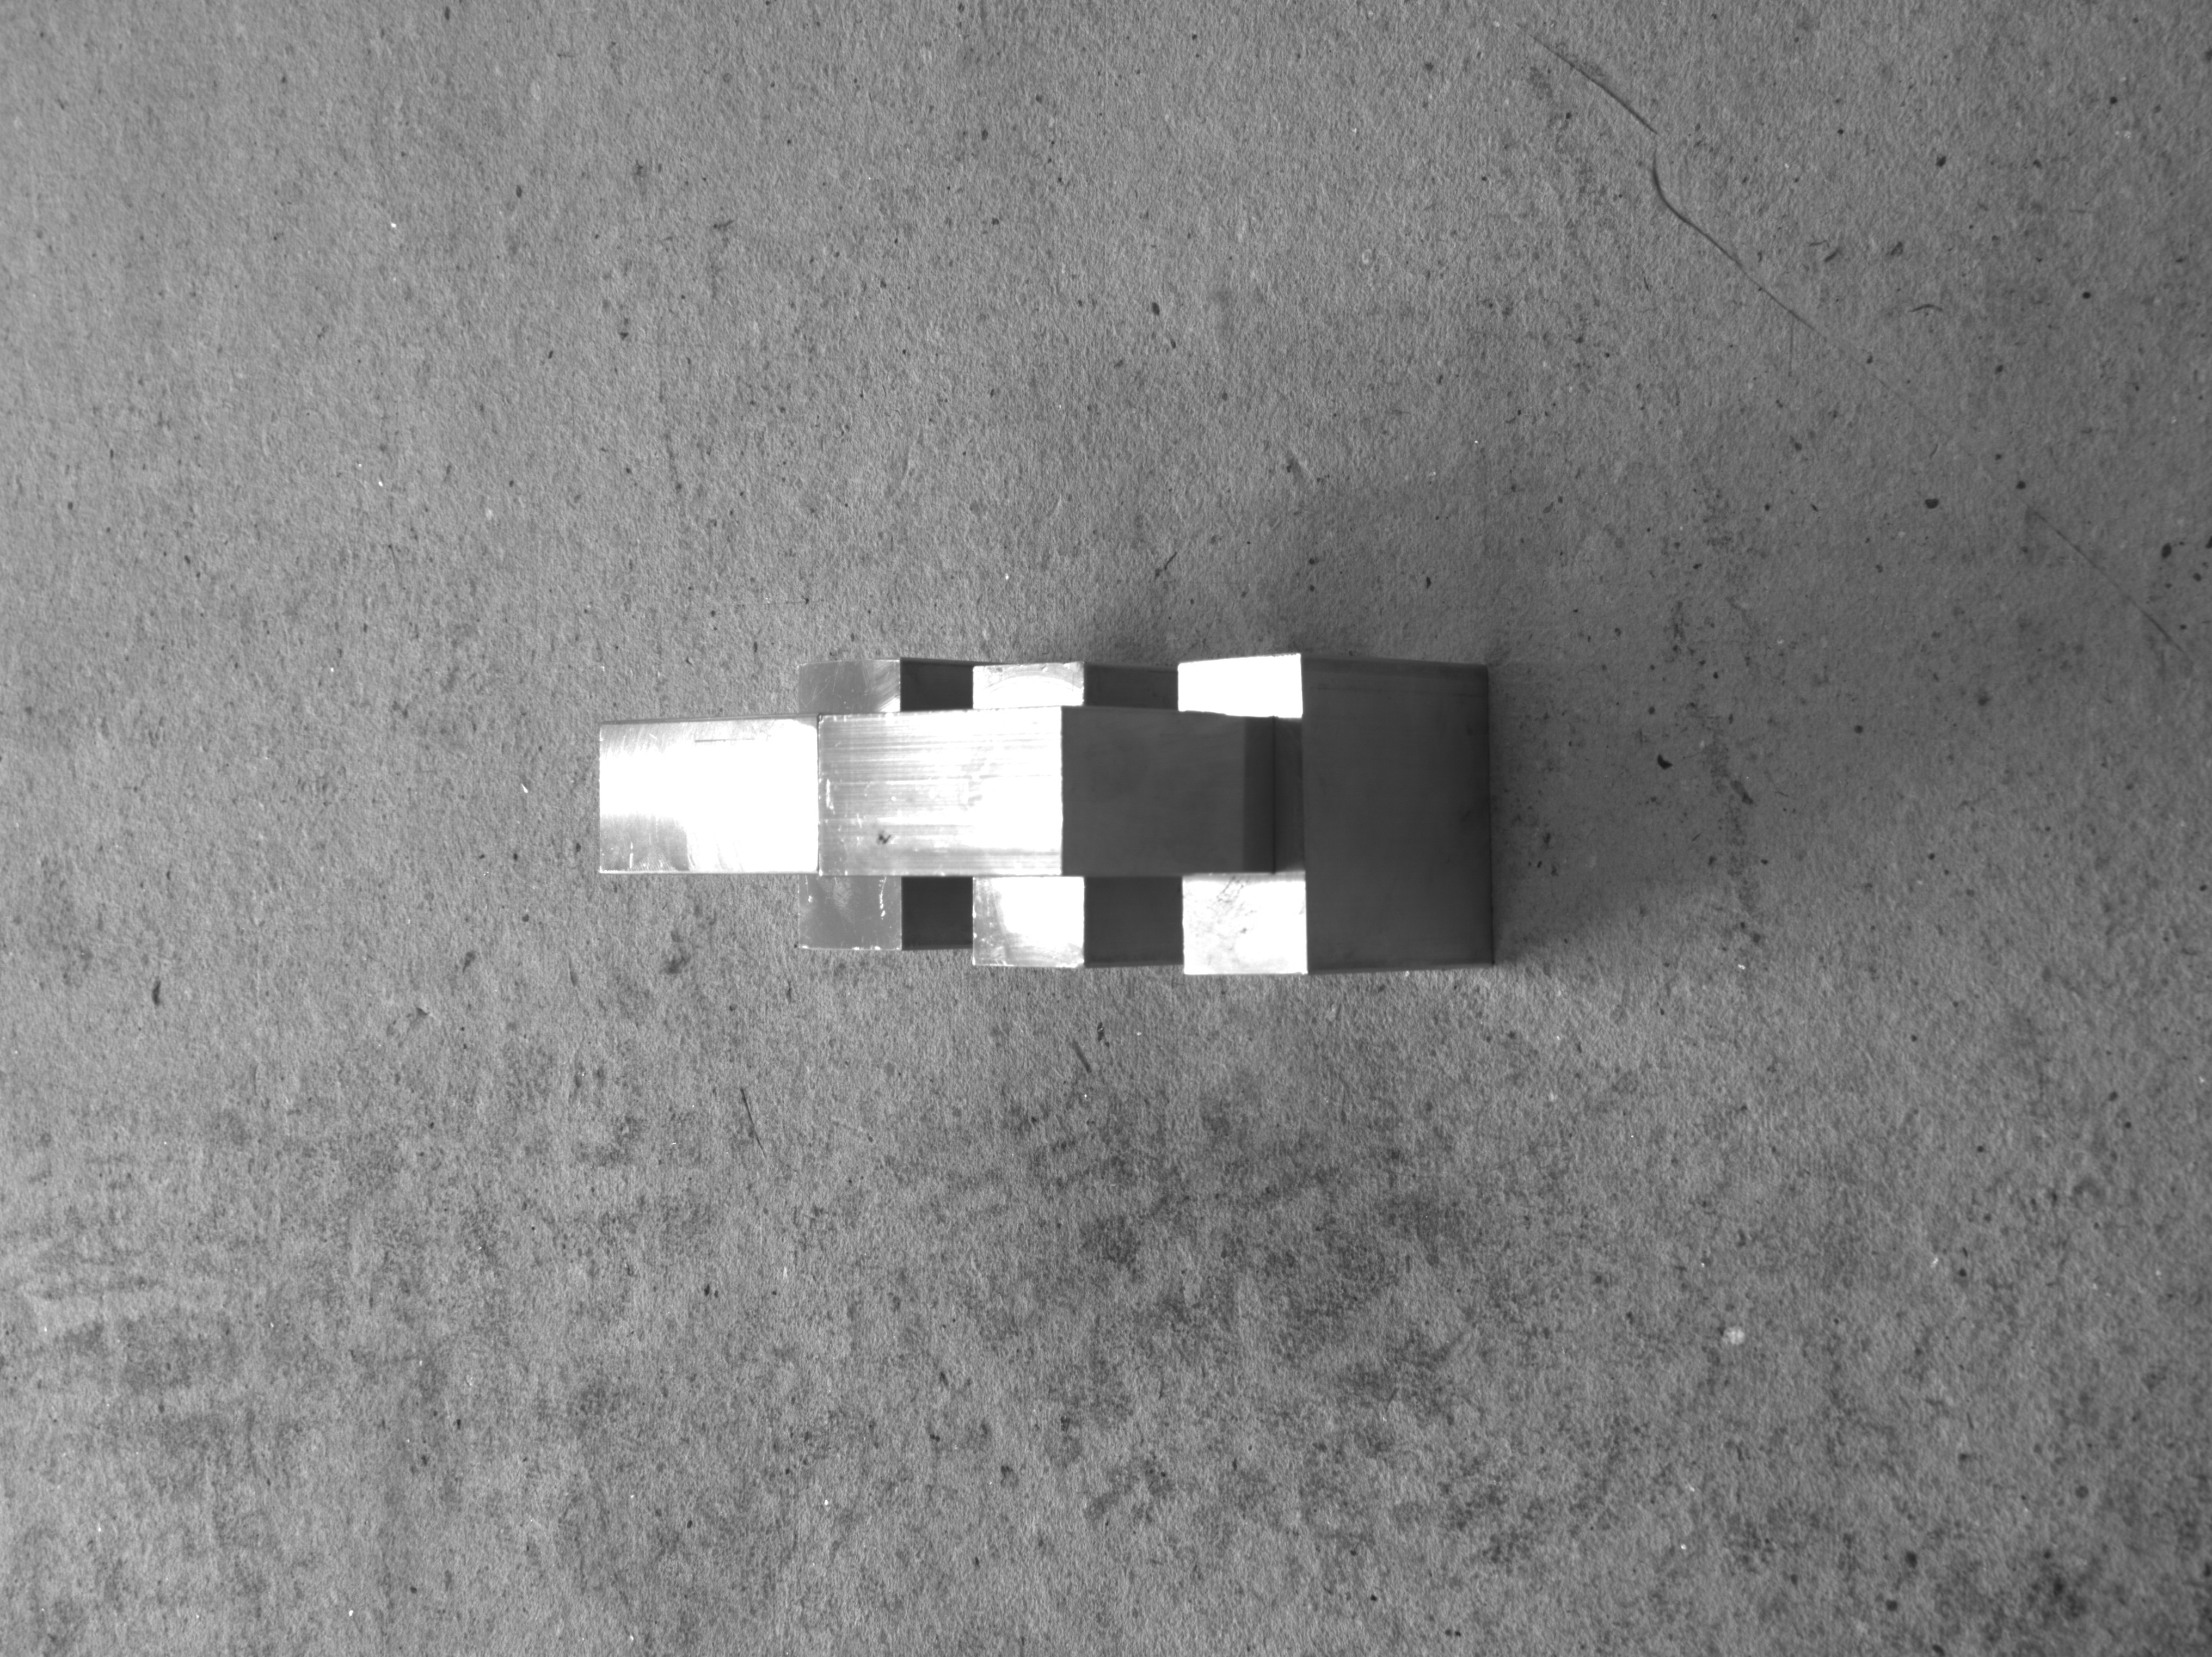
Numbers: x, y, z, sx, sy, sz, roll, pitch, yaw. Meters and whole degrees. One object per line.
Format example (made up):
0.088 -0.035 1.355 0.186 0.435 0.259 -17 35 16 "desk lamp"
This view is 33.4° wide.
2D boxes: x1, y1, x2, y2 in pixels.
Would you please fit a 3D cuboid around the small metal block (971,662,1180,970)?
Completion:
0.004 -0.002 0.627 0.025 0.050 0.050 -2 88 41 "small metal block"

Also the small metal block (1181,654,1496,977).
0.038 -0.001 0.597 0.025 0.050 0.050 -2 88 41 "small metal block"

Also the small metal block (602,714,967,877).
-0.047 -0.005 0.604 0.050 0.050 0.025 -1 89 40 "small metal block"

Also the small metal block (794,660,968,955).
-0.028 -0.003 0.652 0.025 0.050 0.050 -1 89 41 "small metal block"

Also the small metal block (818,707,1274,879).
-0.009 -0.005 0.571 0.050 0.050 0.025 -1 89 40 "small metal block"
